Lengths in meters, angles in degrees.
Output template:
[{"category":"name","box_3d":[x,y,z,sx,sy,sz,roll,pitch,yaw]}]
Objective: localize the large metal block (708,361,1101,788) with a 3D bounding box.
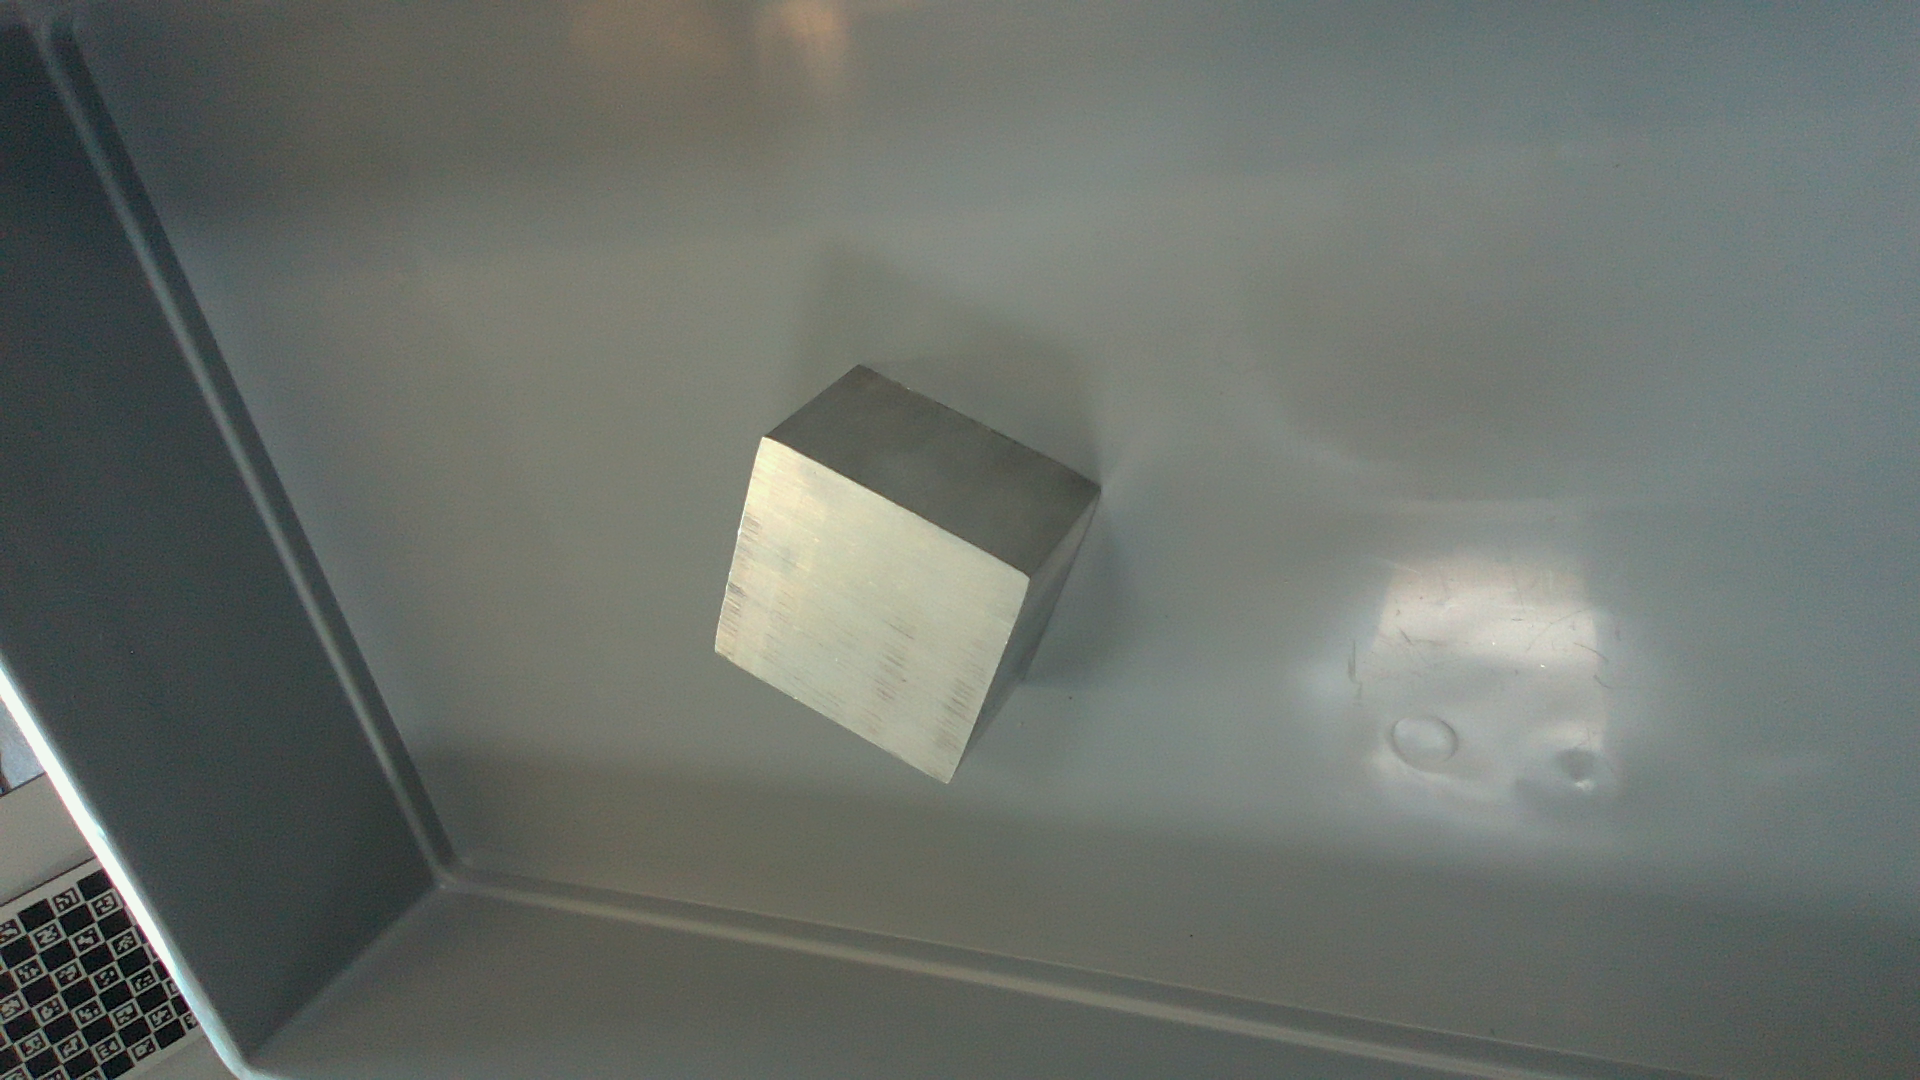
[{"category":"large metal block","box_3d":[-0.017,0.009,0.388,0.080,0.050,0.080,28,127,10]}]
